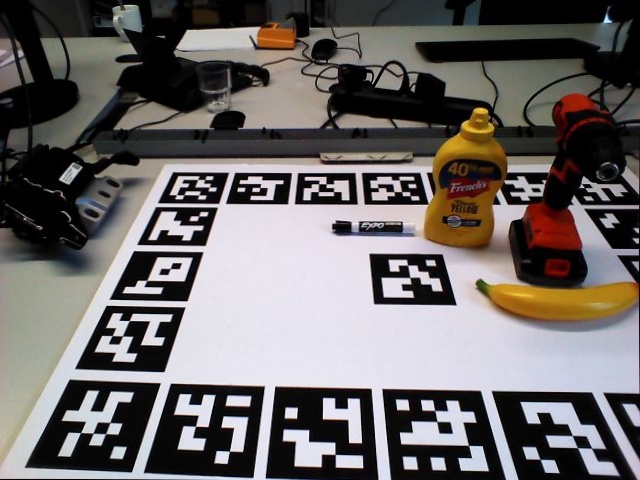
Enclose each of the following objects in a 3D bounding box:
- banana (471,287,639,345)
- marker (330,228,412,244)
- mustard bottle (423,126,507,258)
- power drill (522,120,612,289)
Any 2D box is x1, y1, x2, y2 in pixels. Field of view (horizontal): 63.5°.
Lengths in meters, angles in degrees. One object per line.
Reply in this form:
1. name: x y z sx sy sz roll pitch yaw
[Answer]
1. banana: 0.286 0.095 0.627 0.198 0.039 0.074 5 41 11
2. marker: 0.075 -0.006 0.772 0.121 0.020 0.019 3 40 6
3. mustard bottle: 0.199 -0.064 0.701 0.096 0.192 0.058 9 40 11
4. power drill: 0.300 -0.034 0.633 0.057 0.188 0.183 11 38 13
